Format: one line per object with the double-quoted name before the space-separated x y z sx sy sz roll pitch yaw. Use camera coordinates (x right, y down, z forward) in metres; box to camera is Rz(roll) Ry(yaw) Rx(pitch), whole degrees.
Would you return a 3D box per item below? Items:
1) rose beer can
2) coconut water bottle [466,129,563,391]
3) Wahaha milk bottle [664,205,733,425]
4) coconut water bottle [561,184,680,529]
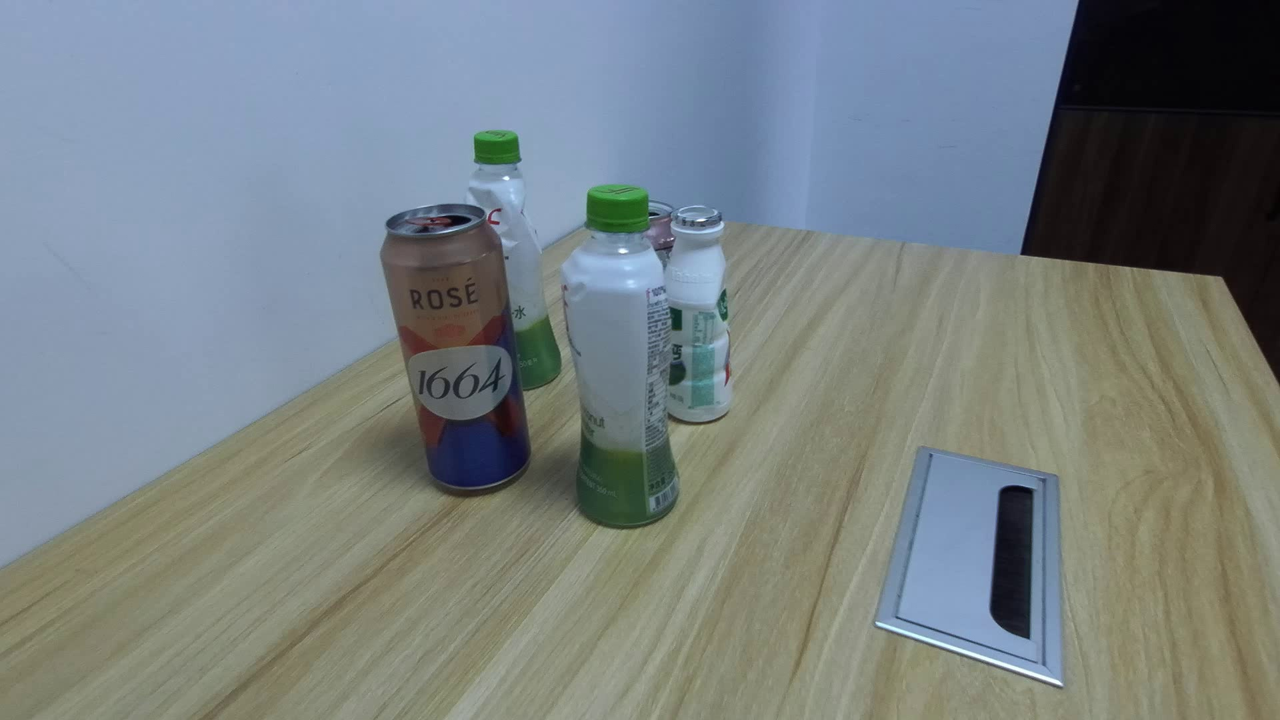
"rose beer can" -0.108 -0.003 0.429 0.068 0.169 0.068 -3 27 2
"coconut water bottle" -0.095 -0.070 0.522 0.067 0.187 0.067 -2 21 1
"Wahaha milk bottle" 0.040 -0.029 0.480 0.056 0.148 0.056 -1 26 1
"coconut water bottle" -0.011 0.000 0.389 0.069 0.187 0.069 -3 25 2
